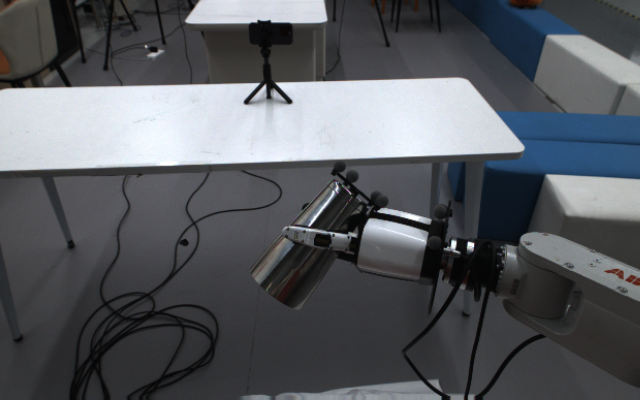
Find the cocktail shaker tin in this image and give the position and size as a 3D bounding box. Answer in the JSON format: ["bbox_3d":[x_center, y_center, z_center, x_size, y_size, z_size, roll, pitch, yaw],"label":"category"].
[{"bbox_3d":[-0.008,0.054,0.675,0.170,0.093,0.093,-50,46,4],"label":"cocktail shaker tin"}]
